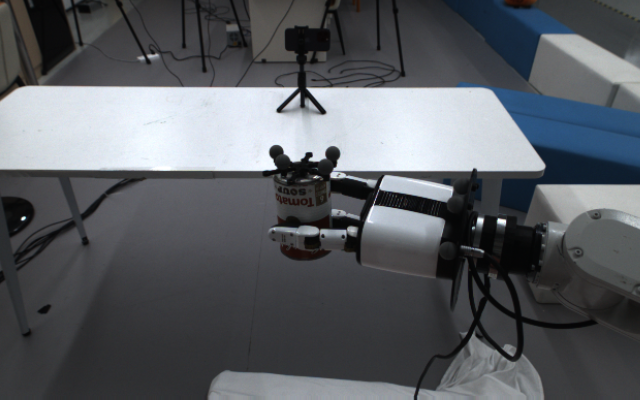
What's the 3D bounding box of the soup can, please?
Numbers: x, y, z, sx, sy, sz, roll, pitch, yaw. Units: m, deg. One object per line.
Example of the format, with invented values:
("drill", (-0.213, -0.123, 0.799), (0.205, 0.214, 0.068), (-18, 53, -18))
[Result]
("soup can", (-0.017, 0.011, 0.583), (0.067, 0.101, 0.067), (-3, 27, 2))
